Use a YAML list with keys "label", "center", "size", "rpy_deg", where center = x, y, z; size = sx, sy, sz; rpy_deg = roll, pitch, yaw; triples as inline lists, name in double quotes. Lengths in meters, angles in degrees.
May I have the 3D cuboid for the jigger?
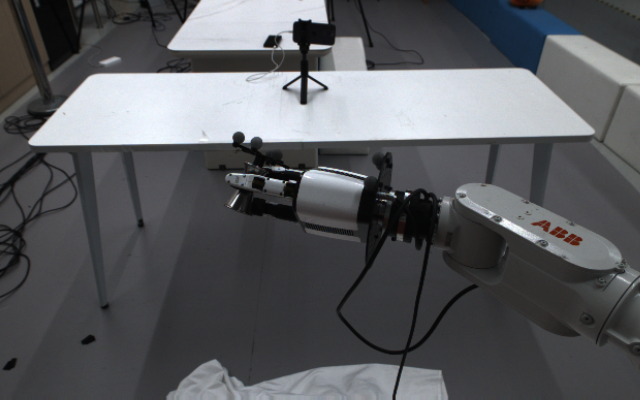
- label: "jigger"
  center: [-0.104, -0.017, 0.683]
  size: [0.043, 0.071, 0.043]
  rpy_deg: [24, -2, 1]
